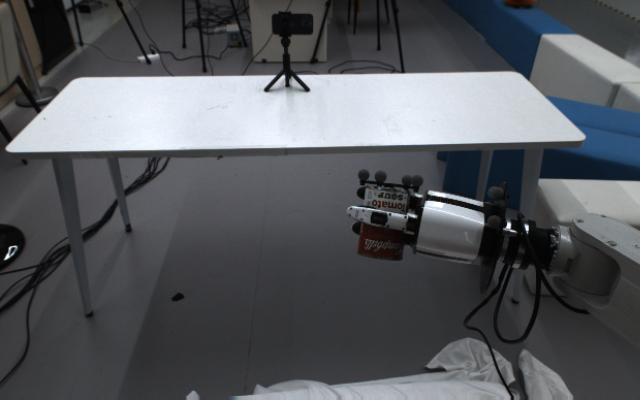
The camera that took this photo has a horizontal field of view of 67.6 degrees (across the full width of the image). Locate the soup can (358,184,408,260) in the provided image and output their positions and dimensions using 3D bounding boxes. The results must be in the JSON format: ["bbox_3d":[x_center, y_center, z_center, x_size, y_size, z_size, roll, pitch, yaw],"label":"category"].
[{"bbox_3d":[0.095,0.032,0.710,0.067,0.101,0.067,7,3,0],"label":"soup can"}]
